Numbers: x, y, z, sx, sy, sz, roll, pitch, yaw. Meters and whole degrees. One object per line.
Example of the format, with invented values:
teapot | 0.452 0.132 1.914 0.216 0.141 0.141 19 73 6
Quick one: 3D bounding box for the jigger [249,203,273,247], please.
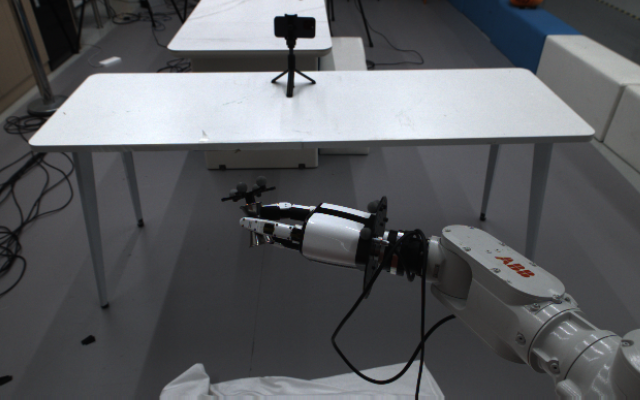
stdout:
jigger | -0.102 0.039 0.783 0.043 0.071 0.043 -15 -3 -1
